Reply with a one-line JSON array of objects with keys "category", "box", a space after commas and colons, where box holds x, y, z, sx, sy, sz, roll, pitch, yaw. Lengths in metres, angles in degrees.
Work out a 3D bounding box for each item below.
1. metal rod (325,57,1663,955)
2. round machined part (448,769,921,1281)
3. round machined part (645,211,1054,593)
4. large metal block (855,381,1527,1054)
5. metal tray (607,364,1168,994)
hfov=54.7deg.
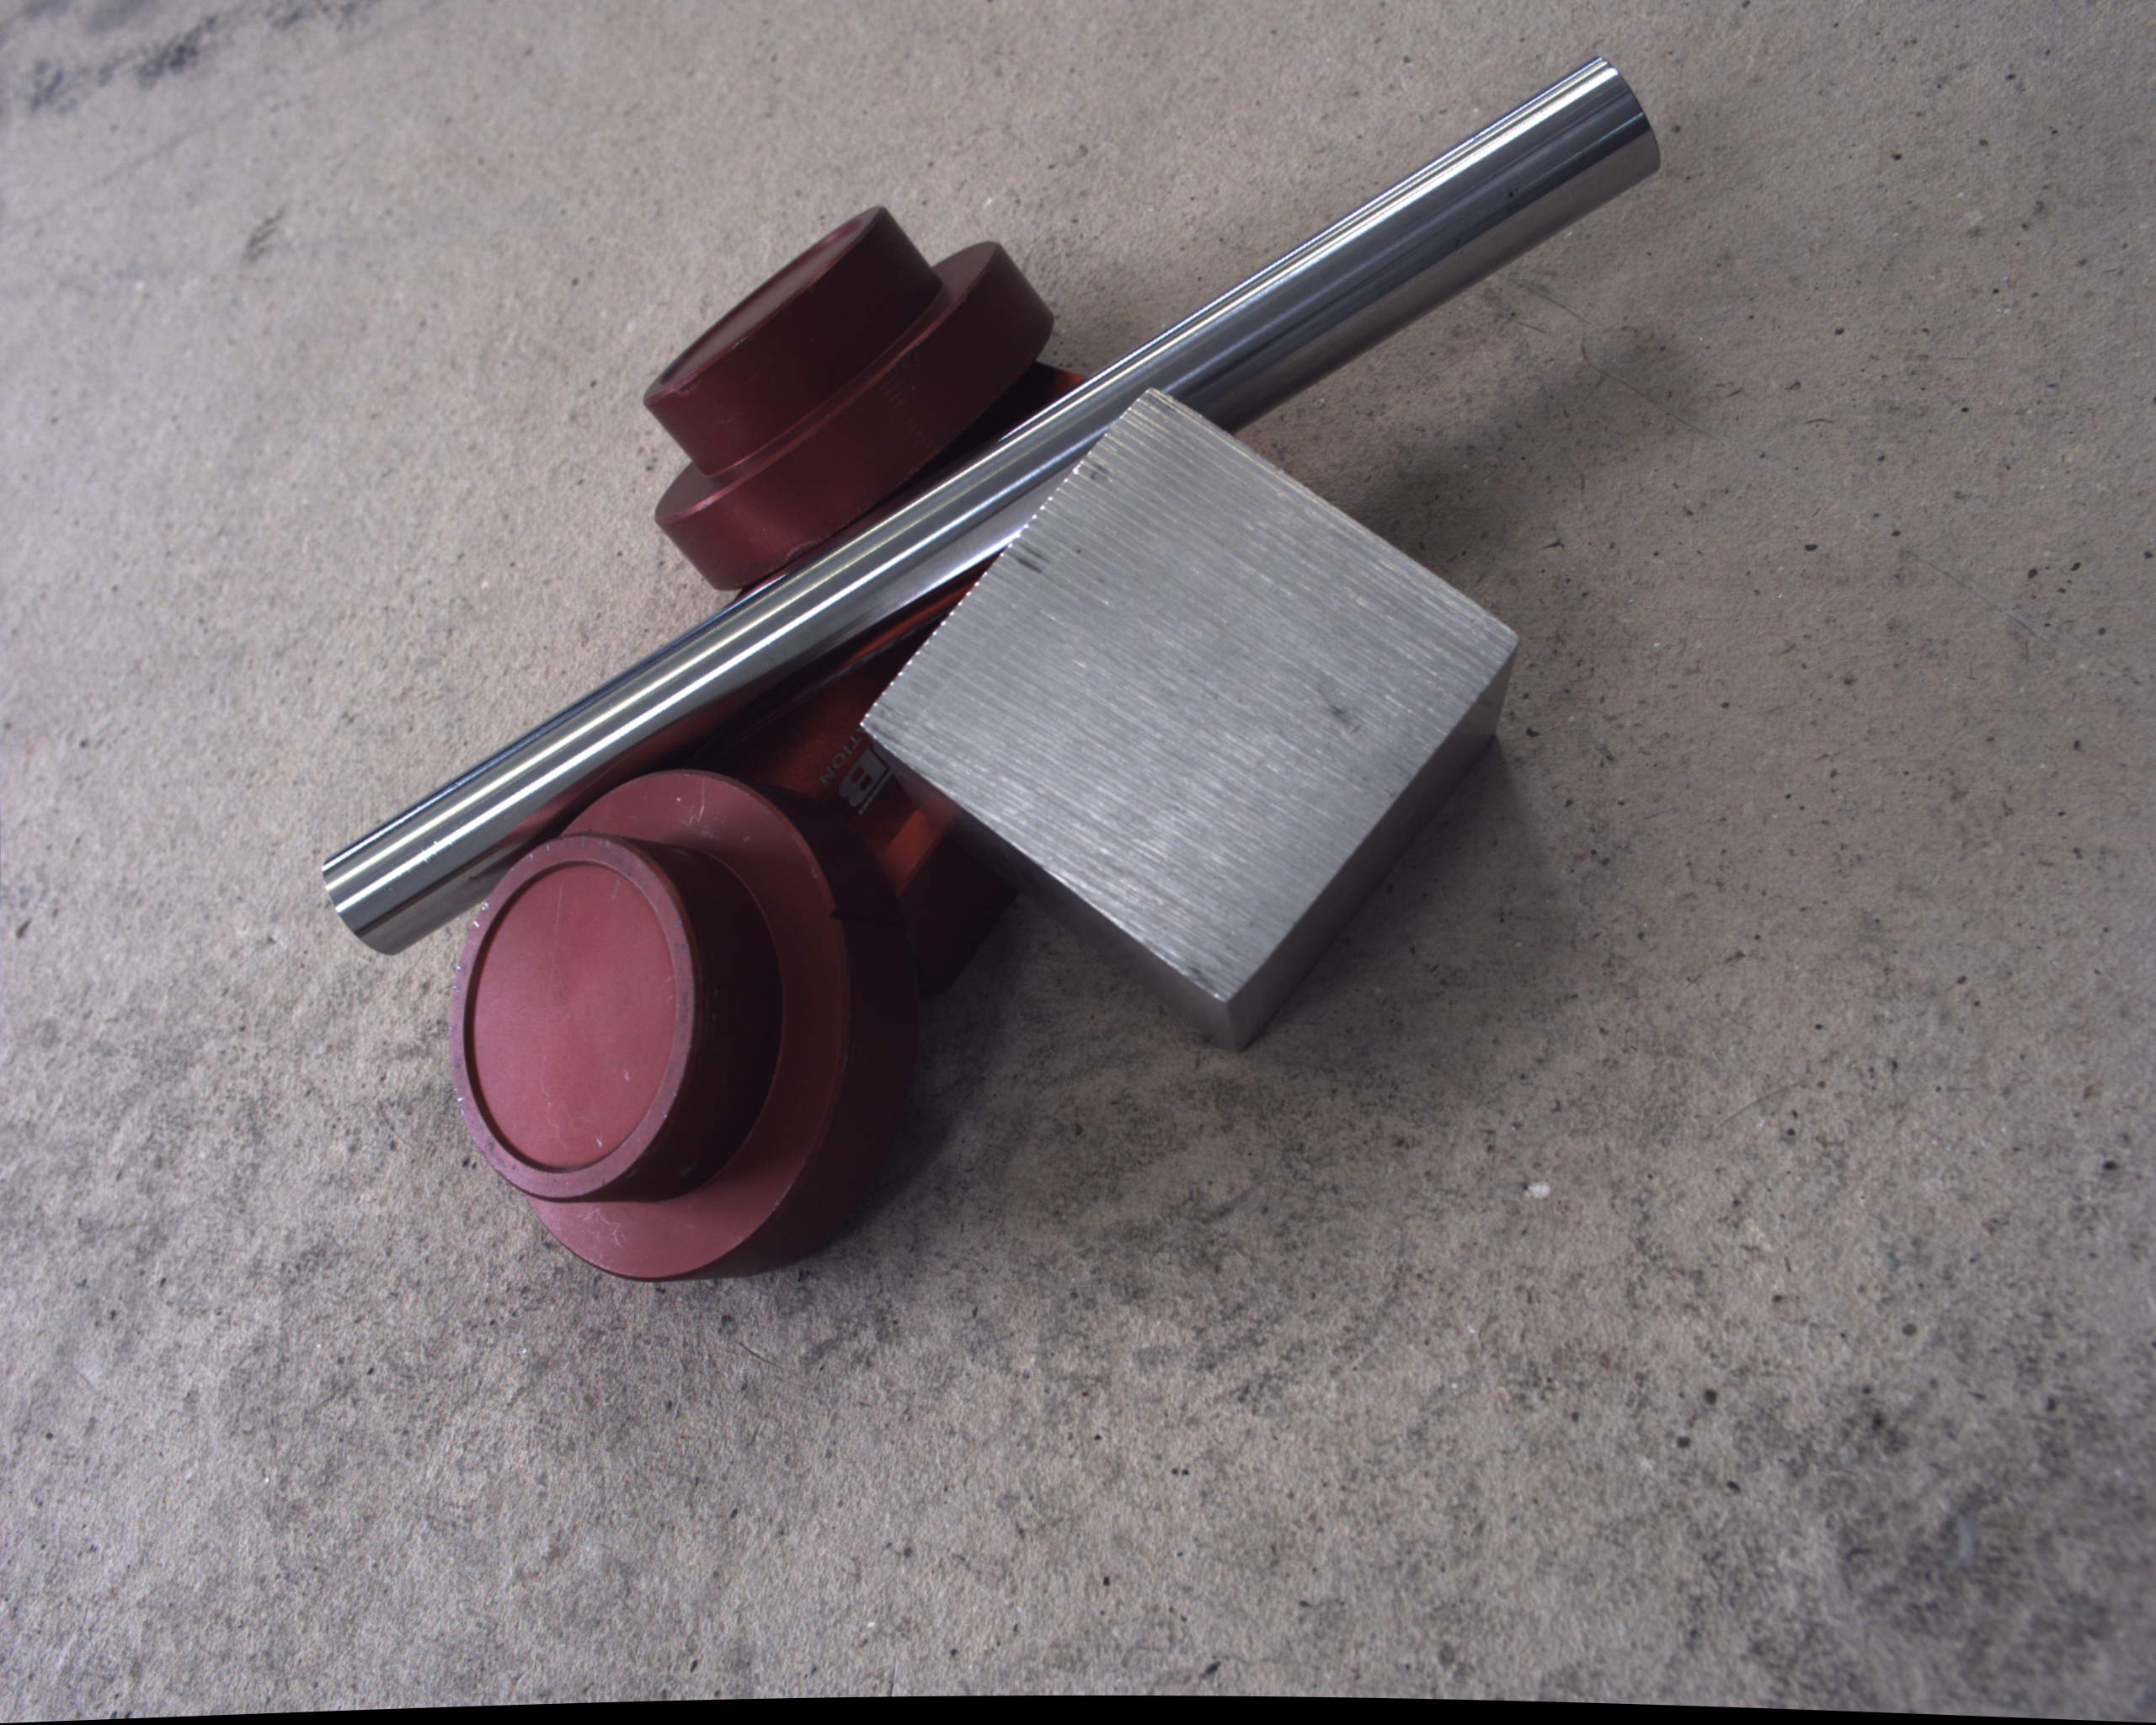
[{"category": "metal rod", "box": [-0.022, -0.067, 0.421, 0.300, 0.025, 0.025, -31, 52, 8]}, {"category": "round machined part", "box": [-0.081, 0.030, 0.396, 0.098, 0.042, 0.098, -6, 78, 34]}, {"category": "round machined part", "box": [-0.057, -0.107, 0.464, 0.098, 0.042, 0.098, -33, 23, 17]}, {"category": "large metal block", "box": [0.021, -0.024, 0.375, 0.080, 0.050, 0.080, 37, 81, 14]}, {"category": "metal tray", "box": [-0.030, -0.046, 0.446, 0.090, 0.030, 0.130, 27, 76, 37]}]
